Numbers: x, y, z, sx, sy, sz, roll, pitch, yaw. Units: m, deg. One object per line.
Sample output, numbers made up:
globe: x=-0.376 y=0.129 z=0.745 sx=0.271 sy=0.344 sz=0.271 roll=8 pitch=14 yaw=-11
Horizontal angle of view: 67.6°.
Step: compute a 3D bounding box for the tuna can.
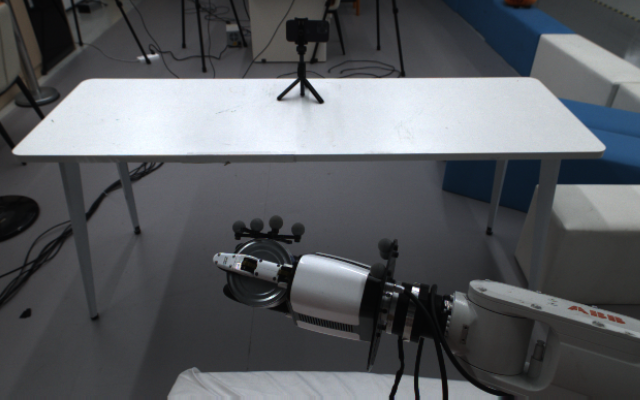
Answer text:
tuna can: x=-0.070 y=0.093 z=0.611 sx=0.085 sy=0.034 sz=0.085 roll=-3 pitch=73 yaw=10
